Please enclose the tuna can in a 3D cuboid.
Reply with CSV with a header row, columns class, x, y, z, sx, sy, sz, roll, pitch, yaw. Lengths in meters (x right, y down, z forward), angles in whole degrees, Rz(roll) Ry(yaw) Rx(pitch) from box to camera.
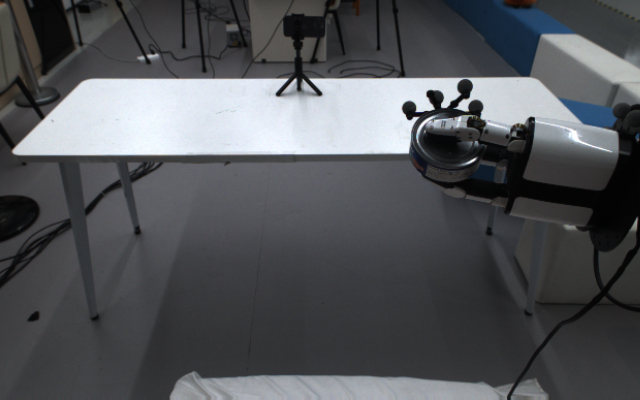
class,x,y,z,sx,sy,sz,roll,pitch,yaw
tuna can,0.148,-0.065,0.563,0.085,0.034,0.085,-2,58,3
